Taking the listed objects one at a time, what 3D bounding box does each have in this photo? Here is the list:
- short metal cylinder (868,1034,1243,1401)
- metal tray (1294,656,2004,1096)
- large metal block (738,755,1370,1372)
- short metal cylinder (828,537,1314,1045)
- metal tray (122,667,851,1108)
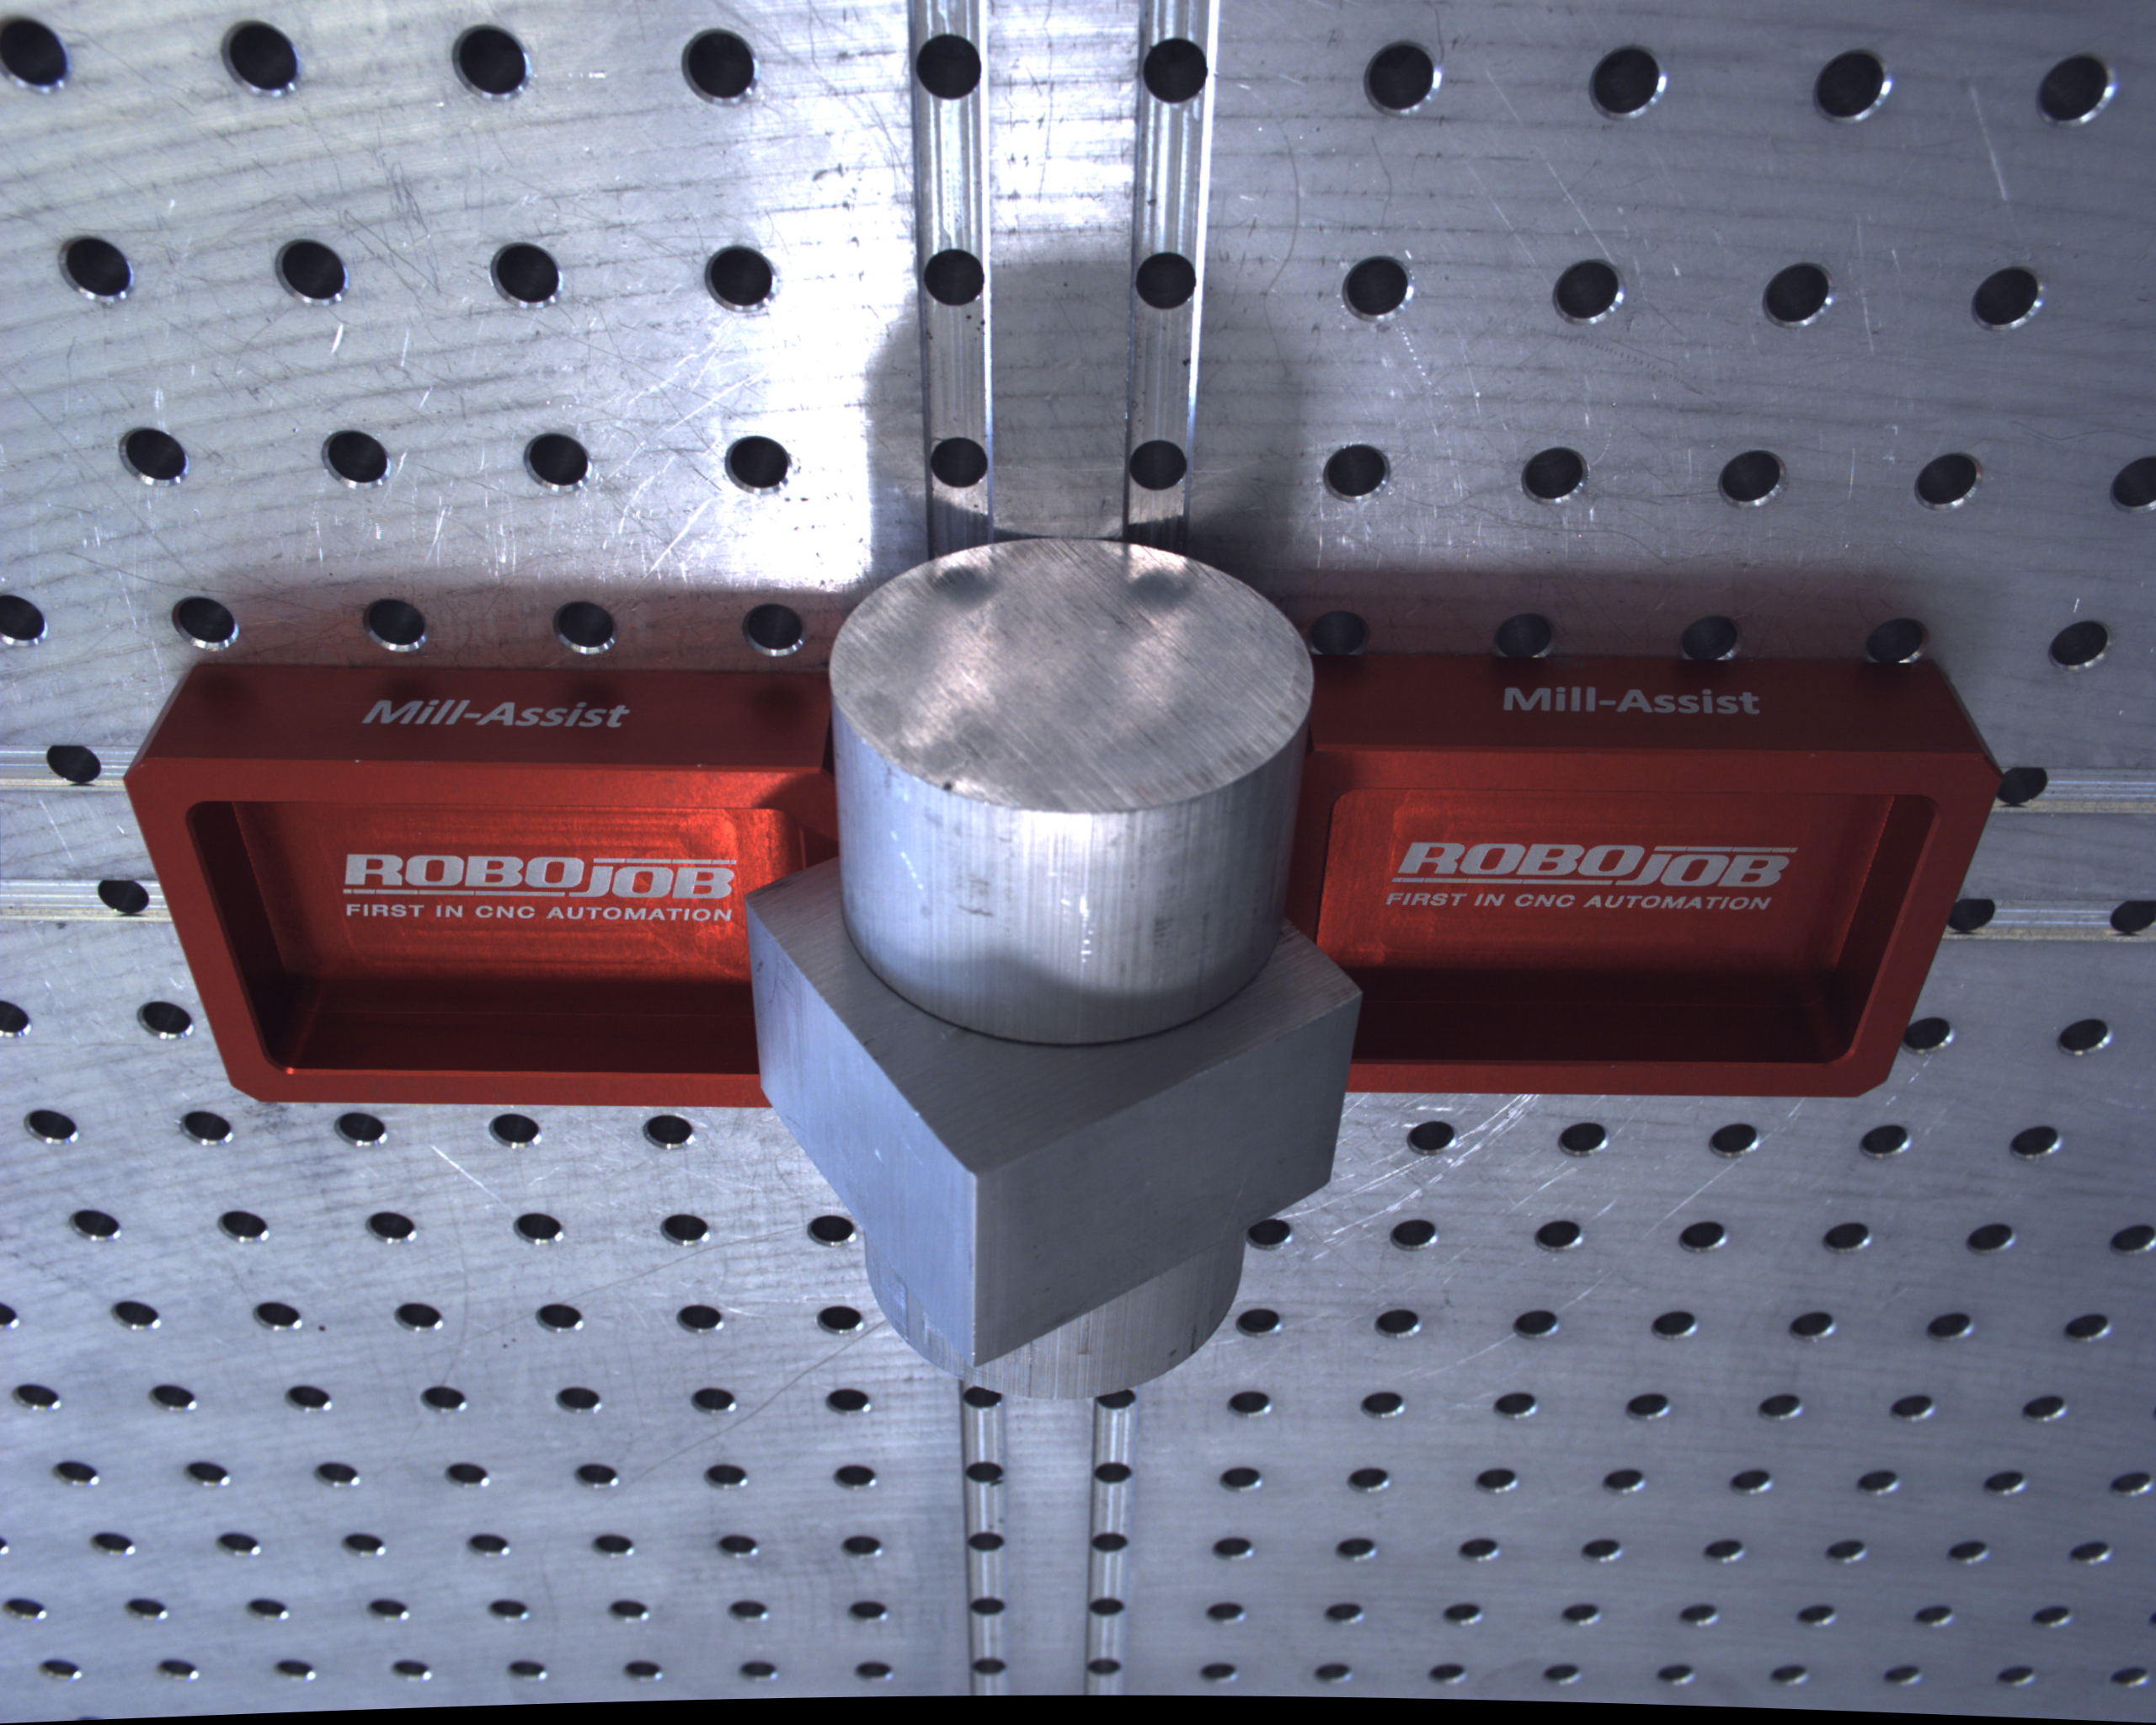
[{"bbox_3d":[-0.004,0.062,0.428,0.081,0.080,0.050,1,130,-1],"label":"short metal cylinder"},{"bbox_3d":[0.102,0.005,0.413,0.131,0.030,0.089,1,130,-1],"label":"metal tray"},{"bbox_3d":[-0.006,0.033,0.384,0.081,0.080,0.050,-22,136,-27],"label":"large metal block"},{"bbox_3d":[-0.002,-0.014,0.363,0.081,0.080,0.050,1,130,-1],"label":"short metal cylinder"},{"bbox_3d":[-0.107,0.007,0.413,0.131,0.030,0.089,1,130,-1],"label":"metal tray"}]
